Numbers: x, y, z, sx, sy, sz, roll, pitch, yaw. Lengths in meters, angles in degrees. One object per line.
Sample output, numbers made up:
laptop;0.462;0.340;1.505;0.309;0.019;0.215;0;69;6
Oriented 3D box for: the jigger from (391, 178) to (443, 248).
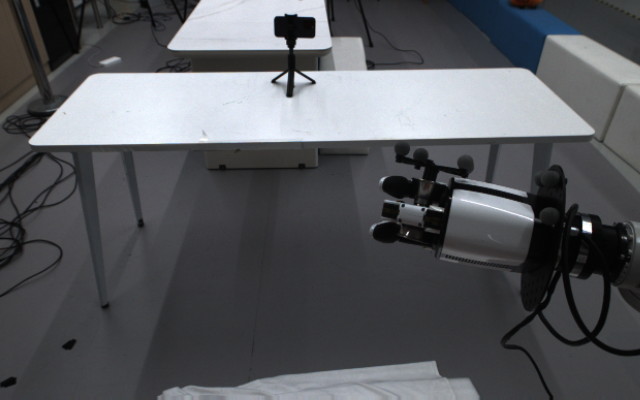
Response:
jigger;0.118;0.011;0.552;0.043;0.071;0.043;14;1;0
